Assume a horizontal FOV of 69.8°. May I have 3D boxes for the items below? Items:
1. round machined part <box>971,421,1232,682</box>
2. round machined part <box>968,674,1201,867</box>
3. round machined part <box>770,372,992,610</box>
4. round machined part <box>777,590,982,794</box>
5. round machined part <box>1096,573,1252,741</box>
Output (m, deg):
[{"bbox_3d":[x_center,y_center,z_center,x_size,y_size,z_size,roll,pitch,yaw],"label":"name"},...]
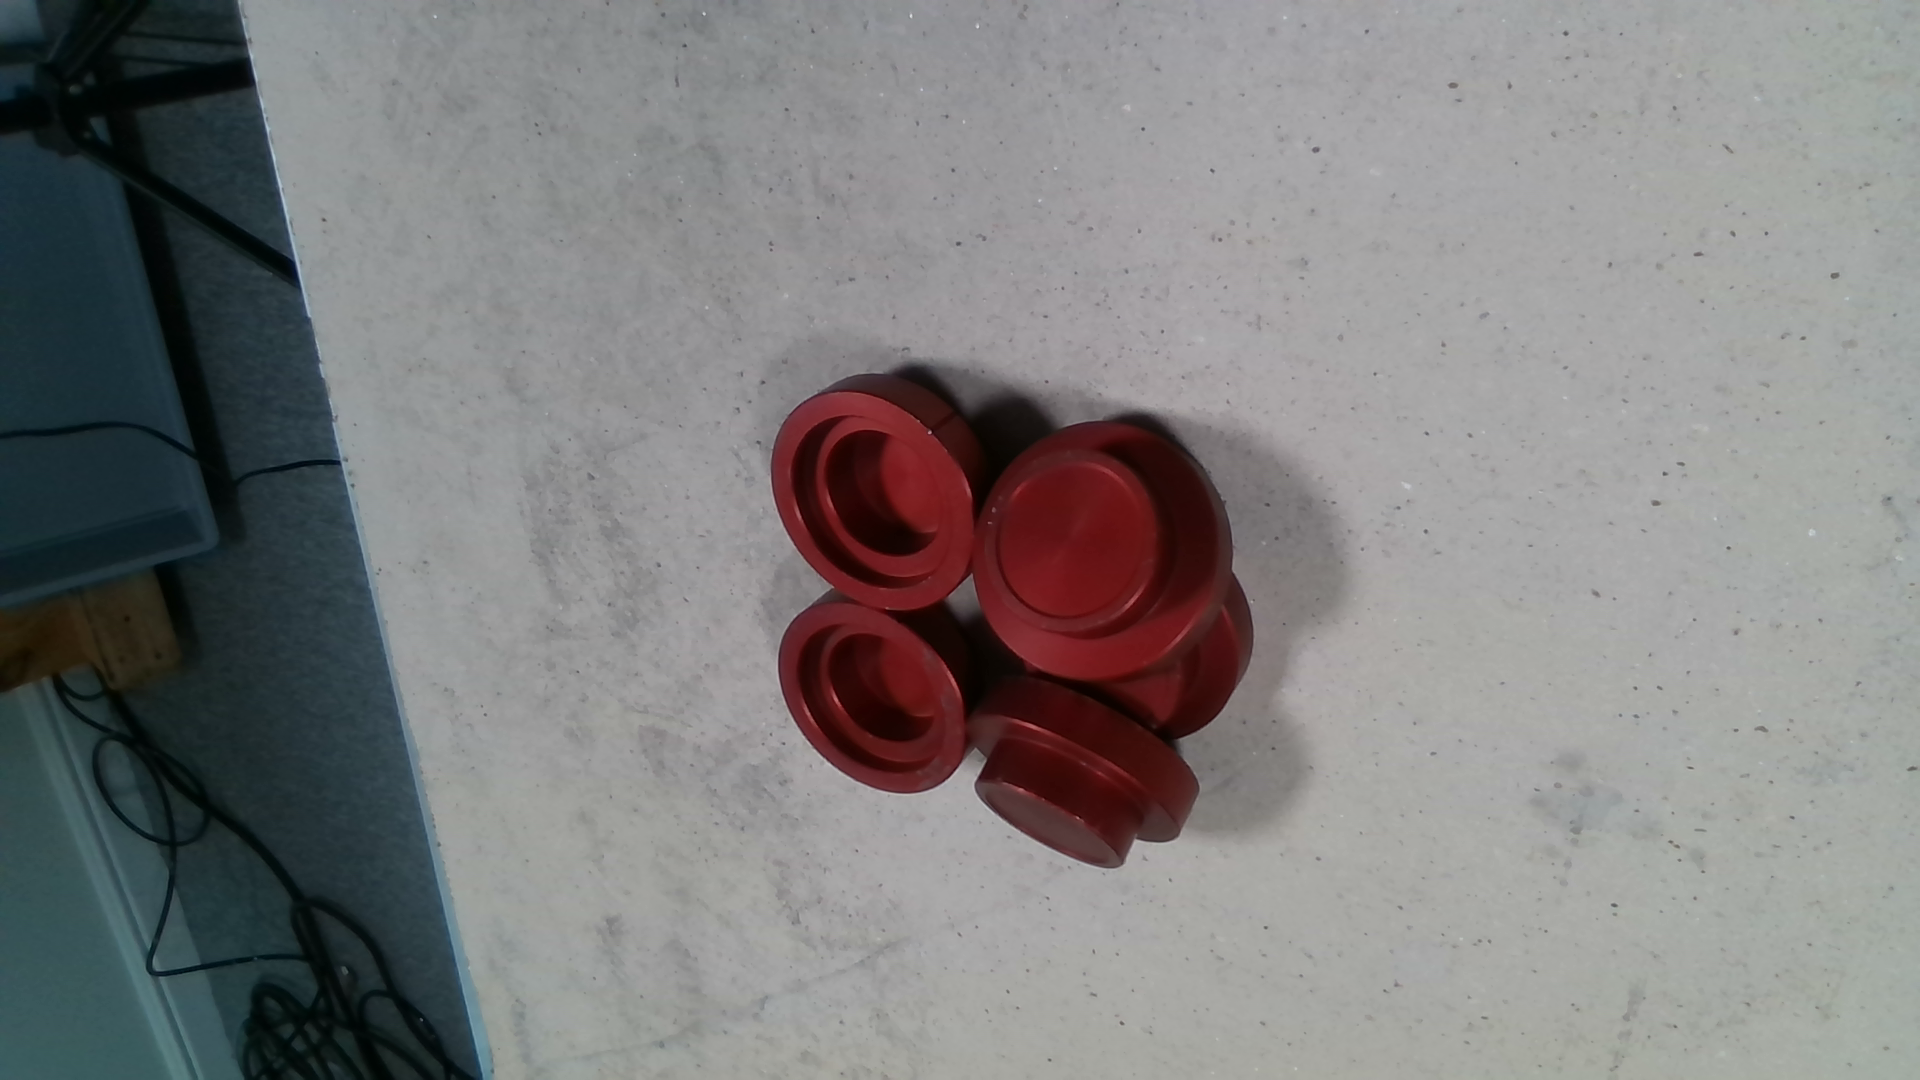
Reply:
[{"bbox_3d":[0.048,0.004,0.511,0.098,0.042,0.098,-5,80,26],"label":"round machined part"},{"bbox_3d":[0.046,0.100,0.568,0.098,0.042,0.098,26,157,12],"label":"round machined part"},{"bbox_3d":[-0.027,-0.023,0.573,0.098,0.042,0.098,14,122,25],"label":"round machined part"},{"bbox_3d":[-0.031,0.062,0.622,0.098,0.042,0.098,14,122,25],"label":"round machined part"},{"bbox_3d":[0.064,0.040,0.551,0.098,0.042,0.098,14,122,25],"label":"round machined part"}]
